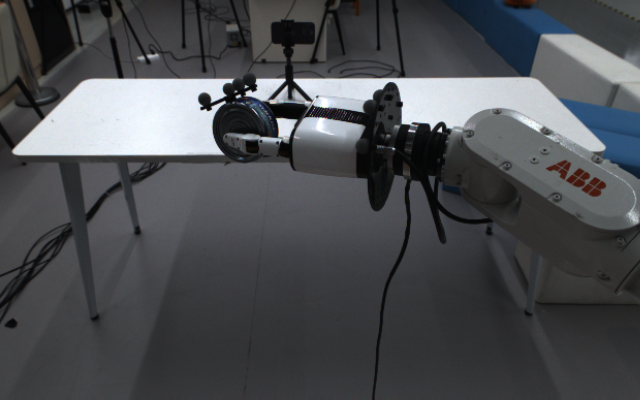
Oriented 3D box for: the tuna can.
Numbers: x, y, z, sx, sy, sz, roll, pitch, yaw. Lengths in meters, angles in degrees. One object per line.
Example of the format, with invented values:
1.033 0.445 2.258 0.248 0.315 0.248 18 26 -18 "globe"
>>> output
-0.098 -0.089 0.653 0.085 0.085 0.034 14 30 17 "tuna can"
